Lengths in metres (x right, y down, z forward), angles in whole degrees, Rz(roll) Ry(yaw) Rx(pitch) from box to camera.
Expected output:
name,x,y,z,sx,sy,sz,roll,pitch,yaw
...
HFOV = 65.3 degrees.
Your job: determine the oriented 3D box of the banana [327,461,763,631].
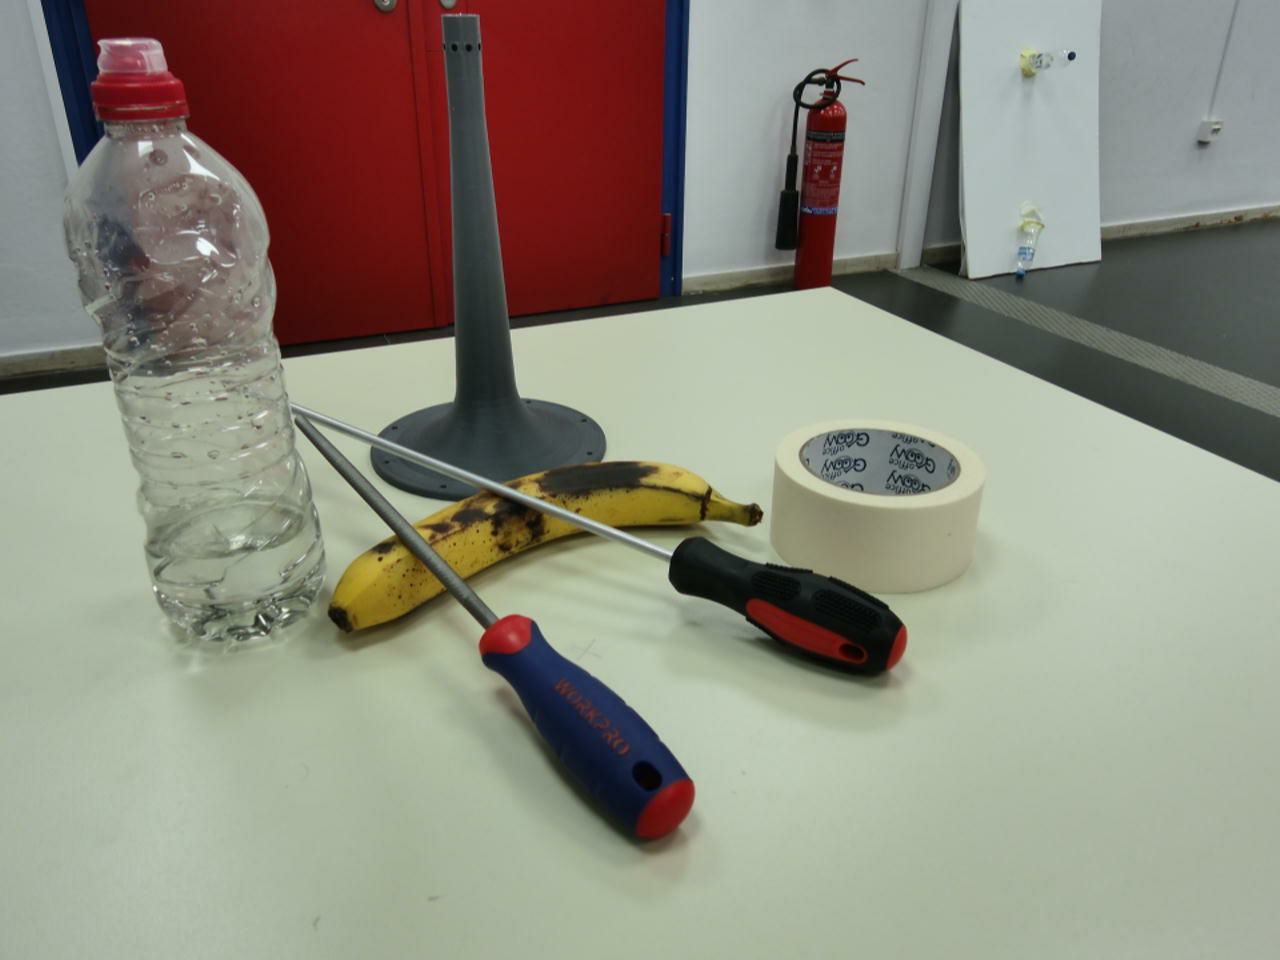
name,x,y,z,sx,sy,sz,roll,pitch,yaw
banana,-0.051,0.024,0.510,0.222,0.037,0.084,-11,28,-23
